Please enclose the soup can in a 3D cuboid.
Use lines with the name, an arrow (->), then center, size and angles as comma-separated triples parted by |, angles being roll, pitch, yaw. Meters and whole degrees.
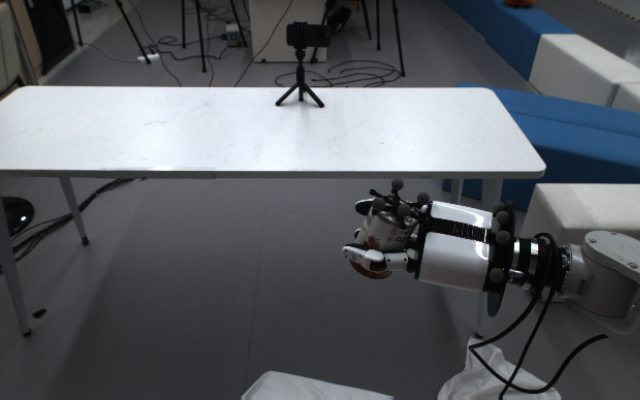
soup can -> 0.089, 0.051, 0.675 | 0.067, 0.101, 0.067 | 14, 35, -10
